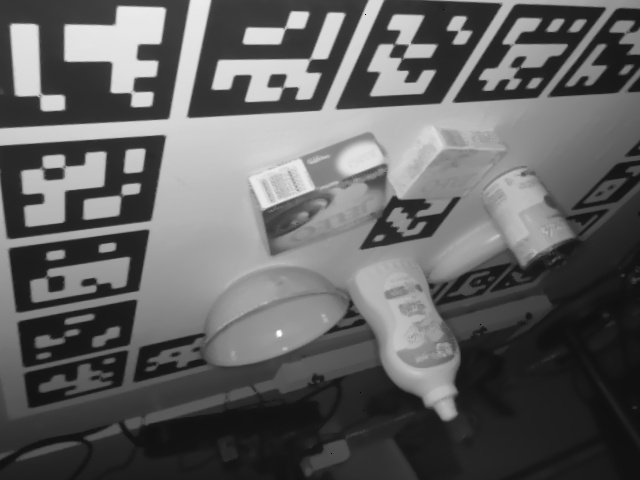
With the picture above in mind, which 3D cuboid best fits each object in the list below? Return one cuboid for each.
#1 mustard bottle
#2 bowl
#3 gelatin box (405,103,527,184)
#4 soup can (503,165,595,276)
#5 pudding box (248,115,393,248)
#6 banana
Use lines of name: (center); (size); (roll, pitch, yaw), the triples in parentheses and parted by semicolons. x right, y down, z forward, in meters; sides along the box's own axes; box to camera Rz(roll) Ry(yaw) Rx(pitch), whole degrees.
mustard bottle: (0.122, 0.121, 0.771); (0.097, 0.192, 0.057); (-7, 150, -26)
bowl: (-0.054, 0.066, 0.721); (0.163, 0.055, 0.160); (-20, 152, -10)
gelatin box: (0.133, -0.085, 0.629); (0.091, 0.030, 0.072); (-4, 142, -33)
soup can: (0.244, -0.019, 0.728); (0.068, 0.102, 0.067); (-16, 151, -8)
pudding box: (0.004, -0.048, 0.586); (0.114, 0.039, 0.089); (-21, 145, -6)
banana: (0.235, 0.008, 0.850); (0.196, 0.039, 0.075); (-32, 160, 14)
